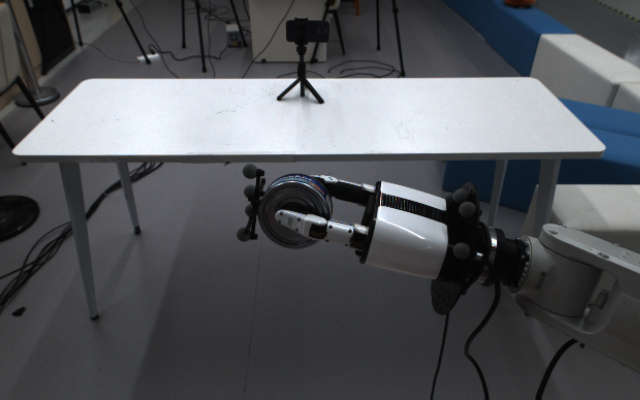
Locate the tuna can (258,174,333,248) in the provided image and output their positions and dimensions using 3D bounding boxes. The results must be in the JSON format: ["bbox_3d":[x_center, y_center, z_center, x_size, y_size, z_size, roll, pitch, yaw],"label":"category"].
[{"bbox_3d":[-0.025,0.017,0.568,0.085,0.085,0.034,4,18,3],"label":"tuna can"}]
